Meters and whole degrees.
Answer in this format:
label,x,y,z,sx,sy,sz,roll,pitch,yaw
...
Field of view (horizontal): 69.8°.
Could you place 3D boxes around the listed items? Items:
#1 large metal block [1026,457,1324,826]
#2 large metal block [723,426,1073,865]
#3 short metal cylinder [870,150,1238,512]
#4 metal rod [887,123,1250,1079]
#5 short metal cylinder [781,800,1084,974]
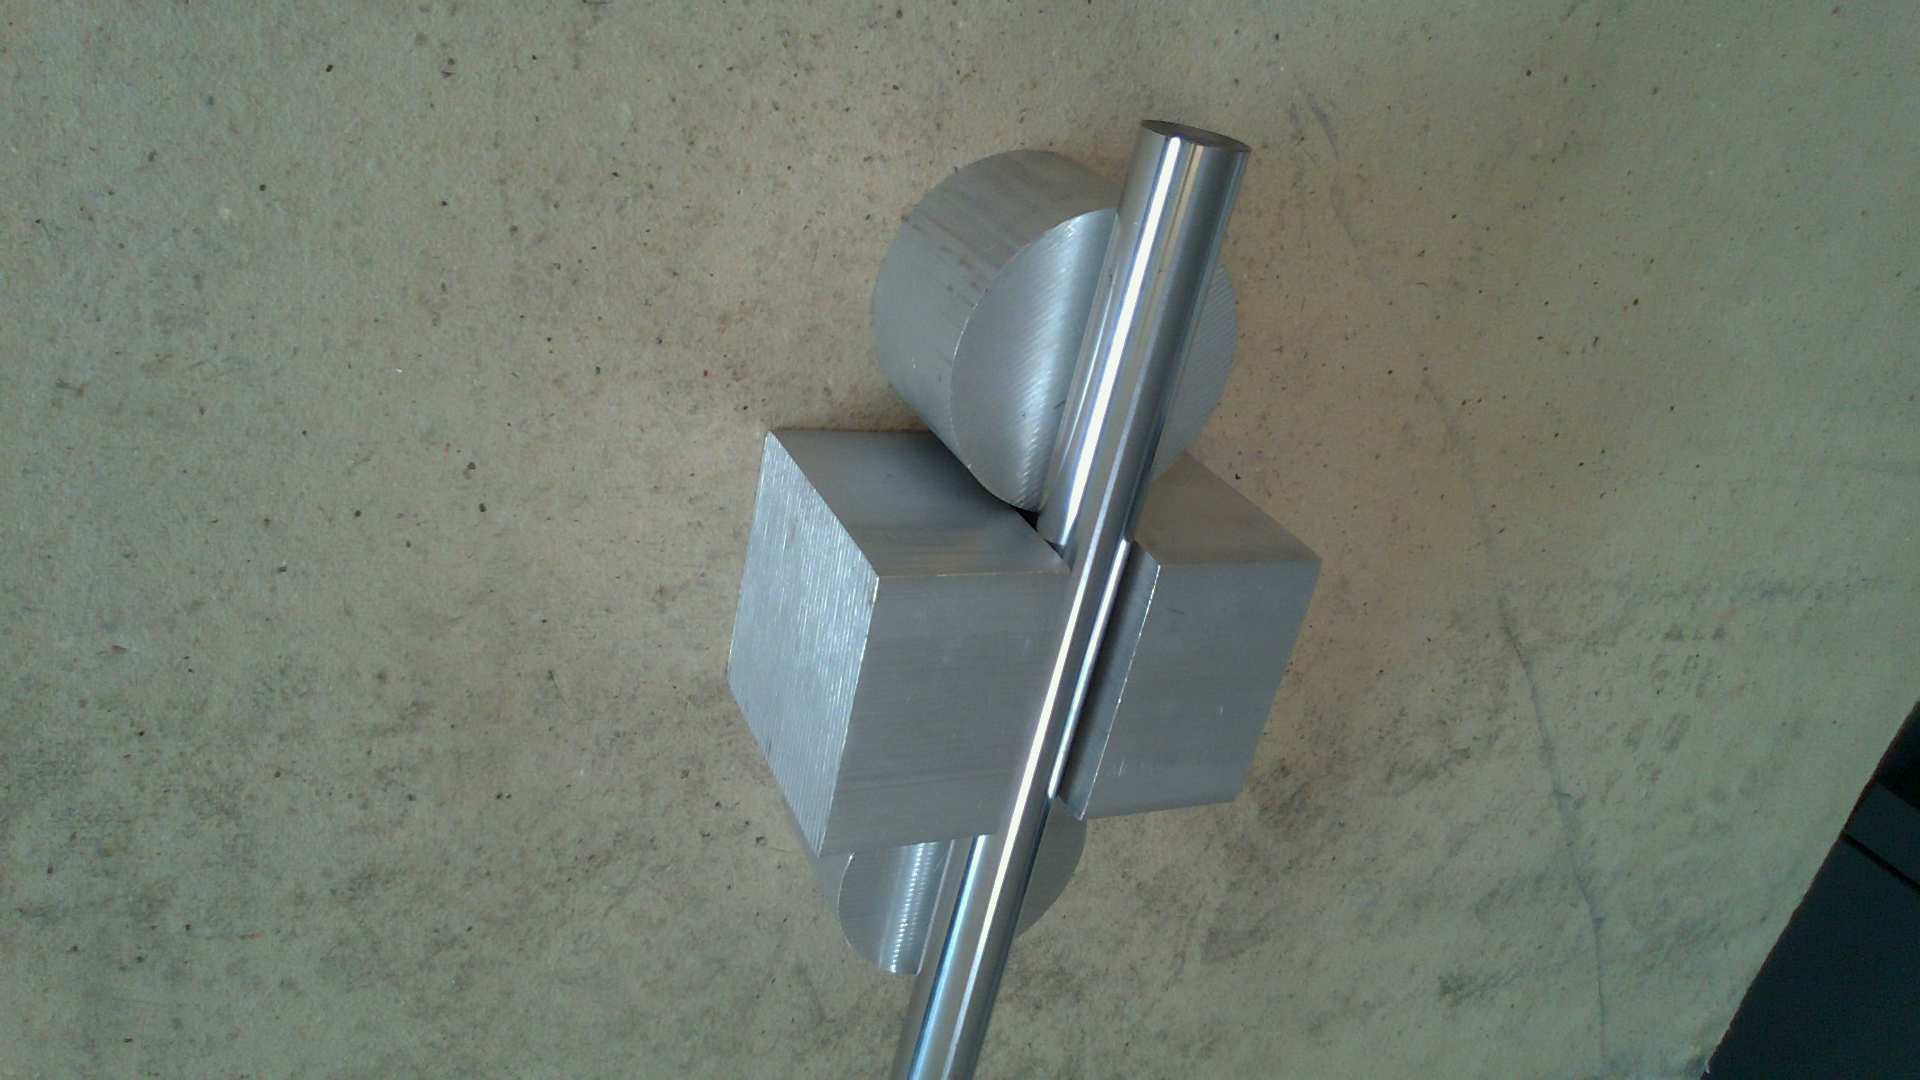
label,x,y,z,sx,sy,sz,roll,pitch,yaw
large metal block,0.047,0.022,0.393,0.050,0.080,0.080,-1,119,-28
large metal block,-0.021,0.024,0.357,0.050,0.080,0.080,-1,119,-28
short metal cylinder,0.023,-0.053,0.353,0.080,0.050,0.080,-14,123,-21
metal rod,0.019,0.044,0.362,0.025,0.025,0.300,-1,119,-28
short metal cylinder,-0.009,0.084,0.421,0.080,0.050,0.080,-14,123,-21
